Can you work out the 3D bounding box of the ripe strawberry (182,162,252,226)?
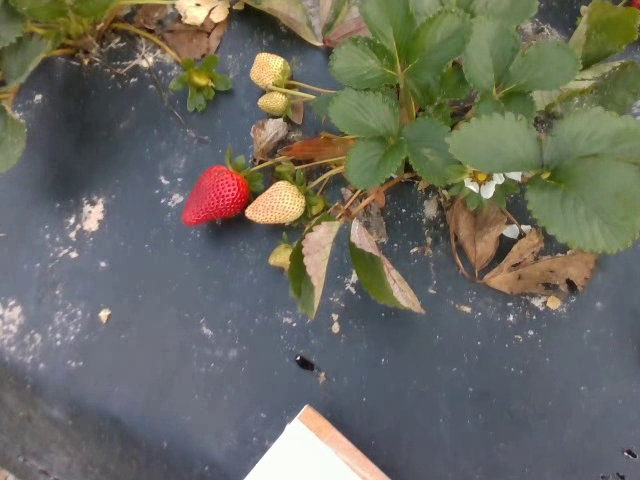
[{"bbox_3d":[-0.077,-0.031,0.461,0.050,0.059,0.034,31,-28,17],"label":"ripe strawberry"}]
